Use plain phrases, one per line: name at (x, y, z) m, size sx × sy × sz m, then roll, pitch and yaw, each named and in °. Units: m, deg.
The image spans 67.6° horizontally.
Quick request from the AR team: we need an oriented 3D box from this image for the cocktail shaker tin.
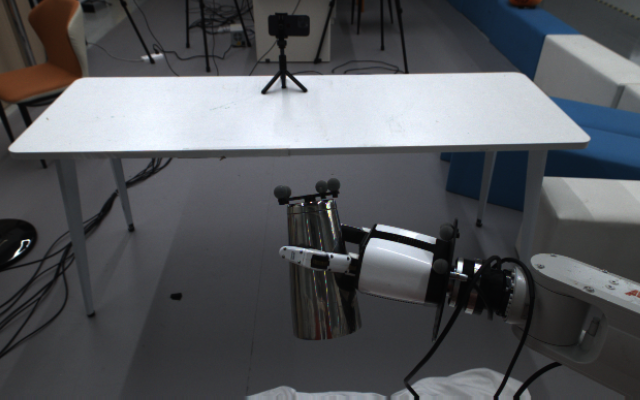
cocktail shaker tin at (0.000, 0.087, 0.642) m, size 0.093 × 0.170 × 0.093 m, roll -8°, pitch 1°, yaw 0°
